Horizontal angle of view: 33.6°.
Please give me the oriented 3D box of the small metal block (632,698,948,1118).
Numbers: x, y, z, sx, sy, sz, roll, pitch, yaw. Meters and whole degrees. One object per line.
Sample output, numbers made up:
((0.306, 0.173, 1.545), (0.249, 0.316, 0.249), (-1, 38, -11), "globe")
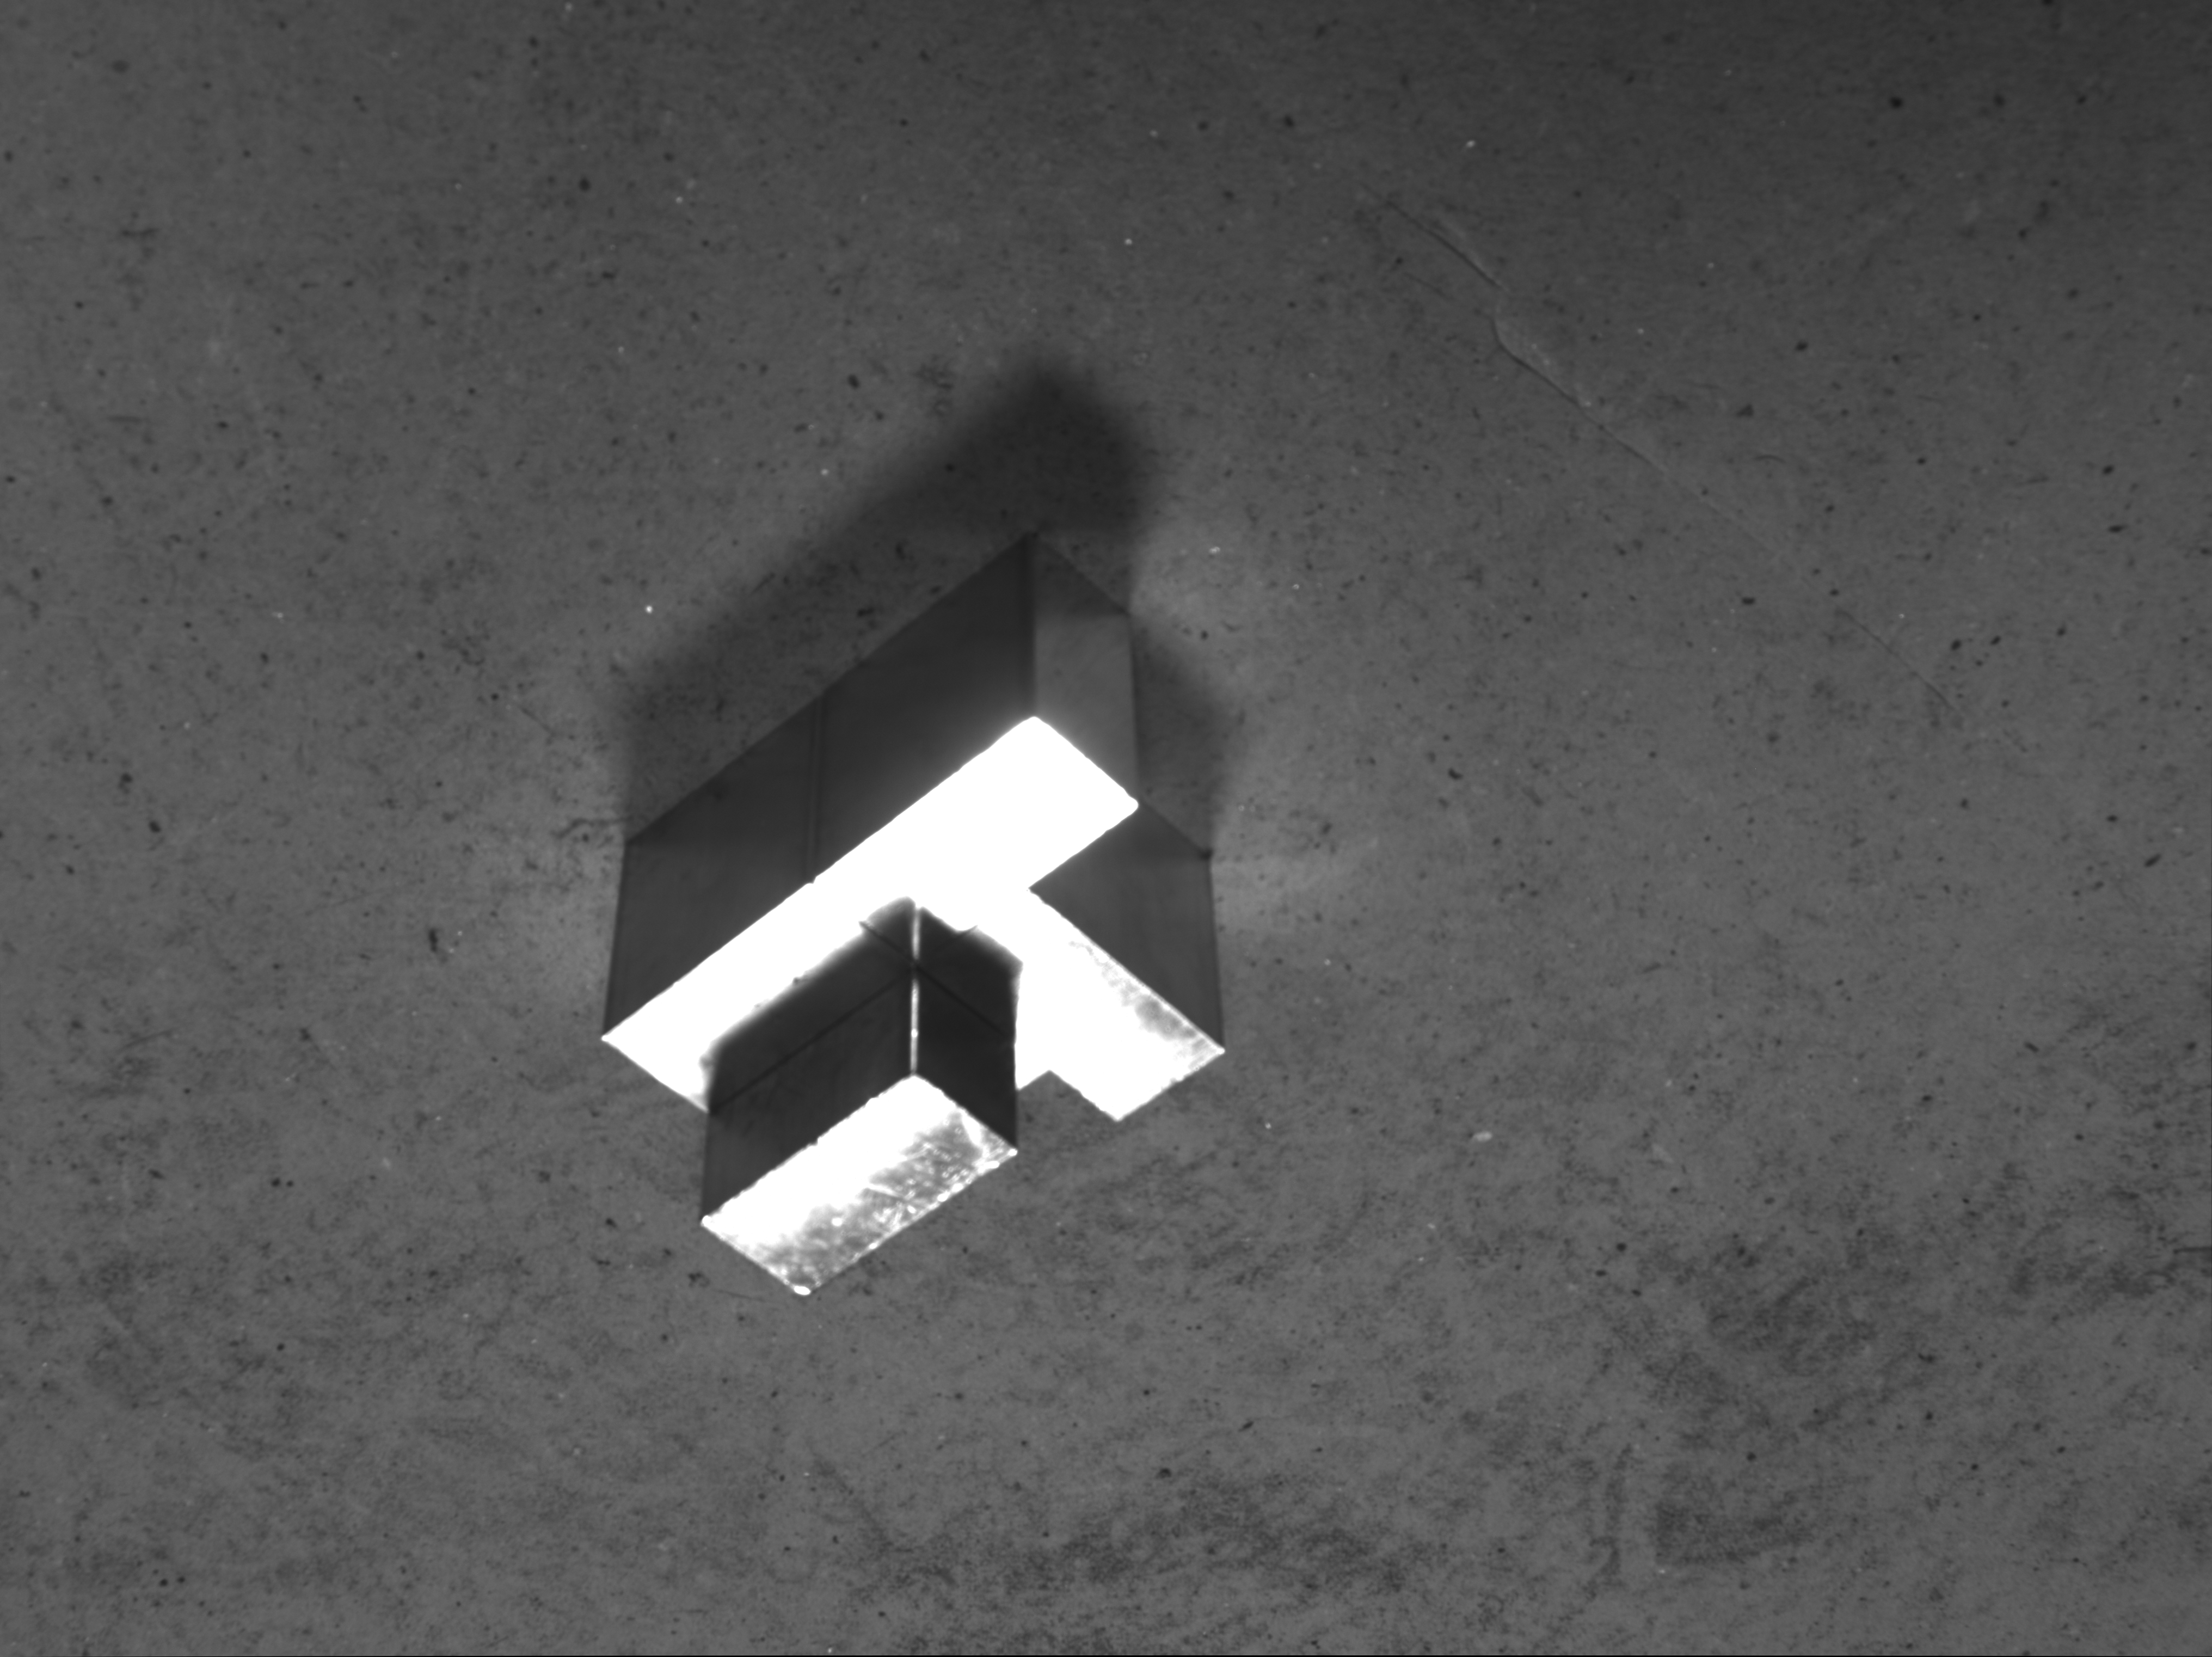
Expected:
((-0.054, 0.014, 0.631), (0.050, 0.050, 0.025), (-36, 122, 25), "small metal block")

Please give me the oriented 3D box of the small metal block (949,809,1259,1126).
((-0.001, 0.015, 0.634), (0.025, 0.050, 0.050), (-35, 123, 25), "small metal block")

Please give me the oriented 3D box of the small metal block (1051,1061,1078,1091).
((-0.028, 0.027, 0.660), (0.050, 0.025, 0.050), (-35, 123, 24), "small metal block")

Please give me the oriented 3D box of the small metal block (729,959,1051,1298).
((-0.036, 0.044, 0.625), (0.050, 0.050, 0.025), (-36, 122, 25), "small metal block")

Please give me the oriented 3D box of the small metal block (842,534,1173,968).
((-0.017, -0.013, 0.610), (0.050, 0.050, 0.025), (-36, 122, 25), "small metal block")
